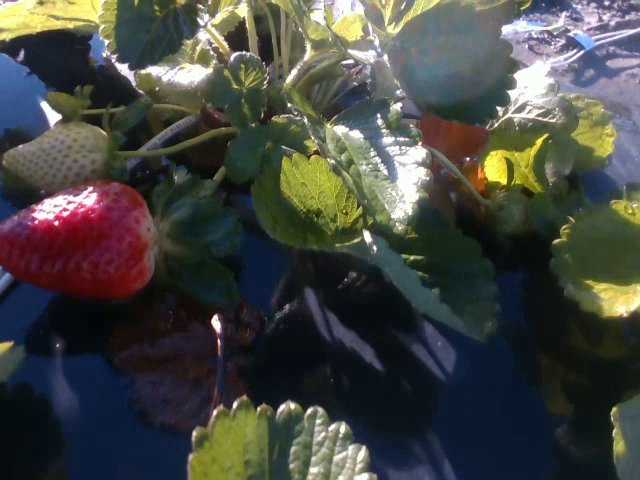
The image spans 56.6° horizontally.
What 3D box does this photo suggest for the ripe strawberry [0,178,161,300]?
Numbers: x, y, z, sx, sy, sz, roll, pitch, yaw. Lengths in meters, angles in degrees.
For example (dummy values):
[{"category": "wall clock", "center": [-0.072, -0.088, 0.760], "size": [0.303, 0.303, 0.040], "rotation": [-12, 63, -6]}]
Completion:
[{"category": "ripe strawberry", "center": [-0.092, -0.003, 0.228], "size": [0.080, 0.063, 0.040], "rotation": [-2, -14, -35]}]
